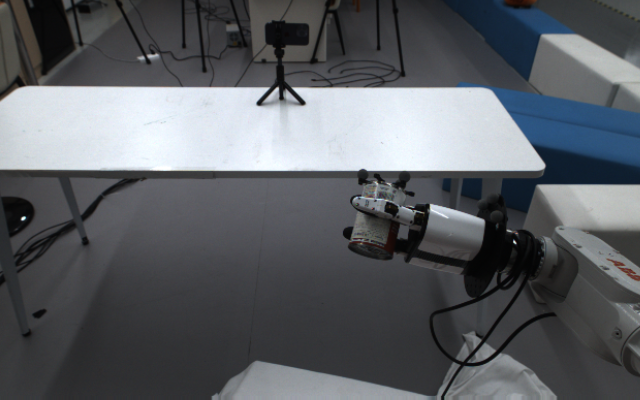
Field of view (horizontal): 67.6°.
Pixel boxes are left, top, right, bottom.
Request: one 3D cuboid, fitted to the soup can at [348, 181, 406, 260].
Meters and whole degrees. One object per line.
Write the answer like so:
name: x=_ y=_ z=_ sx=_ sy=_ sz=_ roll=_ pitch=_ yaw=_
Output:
soup can: x=0.088 y=0.031 z=0.723 sx=0.067 sy=0.067 sz=0.101 roll=11 pitch=72 yaw=13
